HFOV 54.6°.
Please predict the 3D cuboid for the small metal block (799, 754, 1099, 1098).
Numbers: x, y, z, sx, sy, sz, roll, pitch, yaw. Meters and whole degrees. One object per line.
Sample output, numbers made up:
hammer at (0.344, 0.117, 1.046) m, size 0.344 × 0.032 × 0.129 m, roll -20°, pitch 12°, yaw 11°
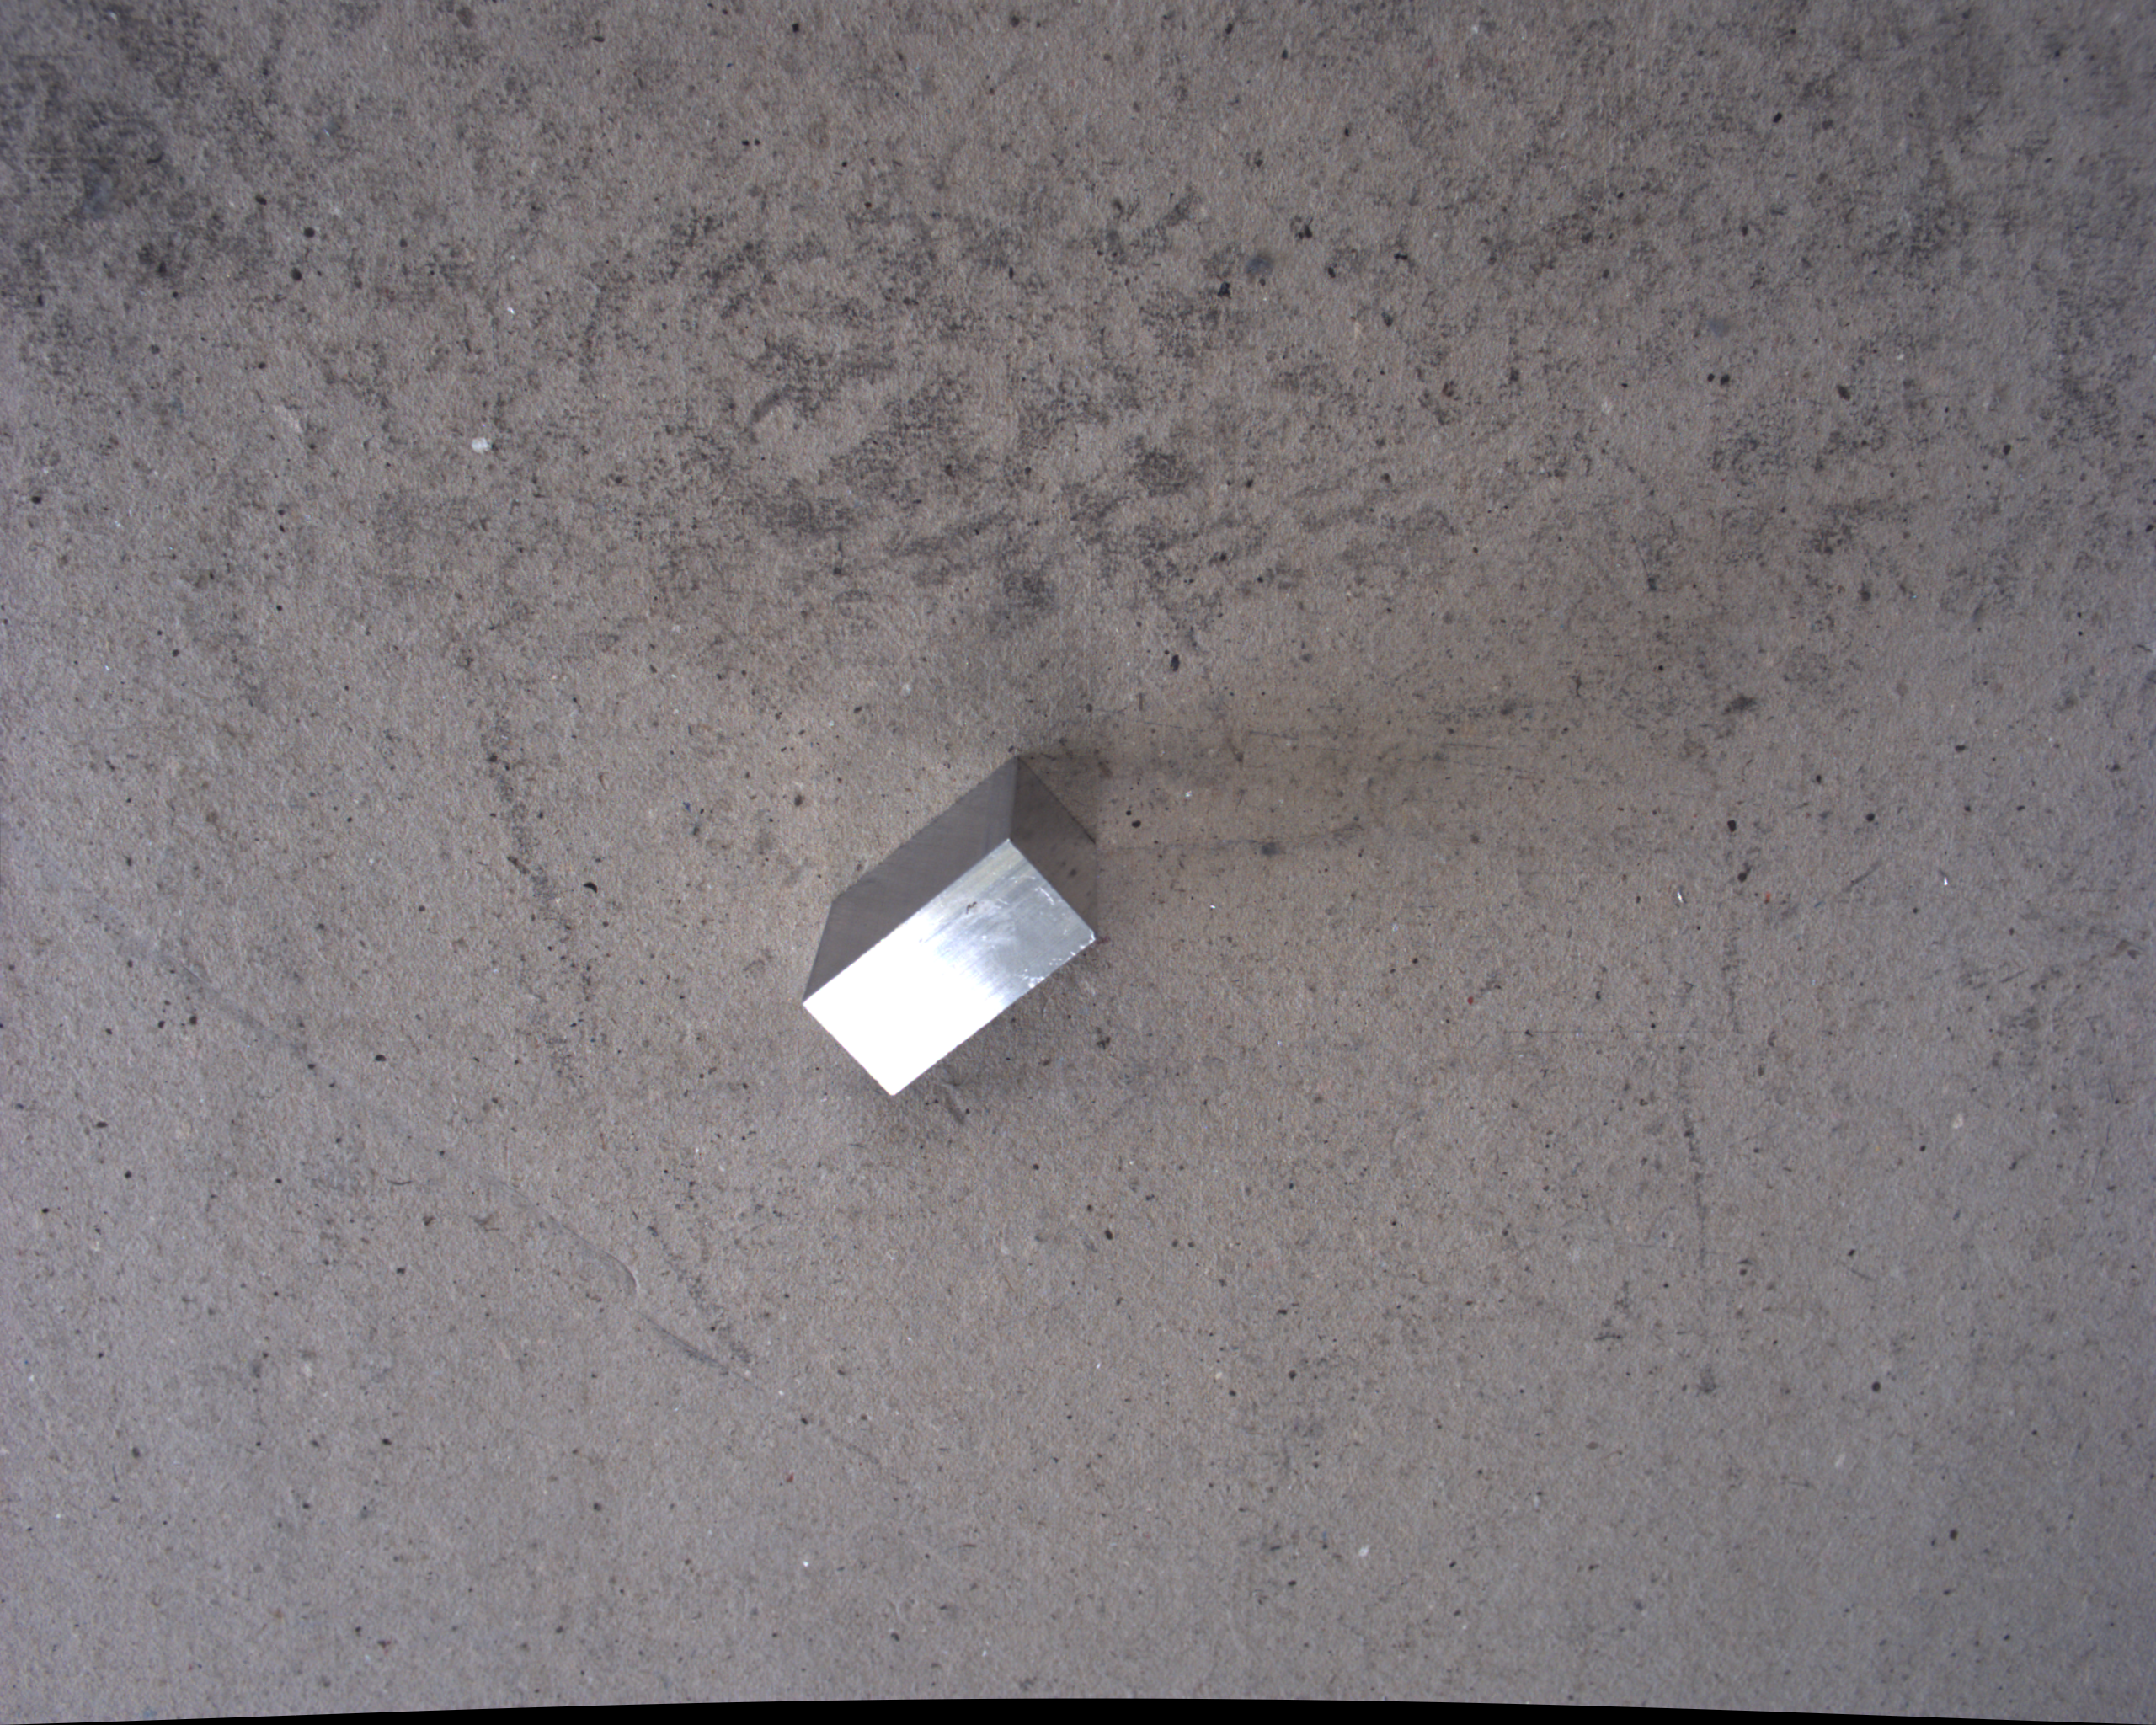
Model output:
small metal block at (-0.024, 0.011, 0.402) m, size 0.050 × 0.050 × 0.025 m, roll -38°, pitch 106°, yaw 12°
